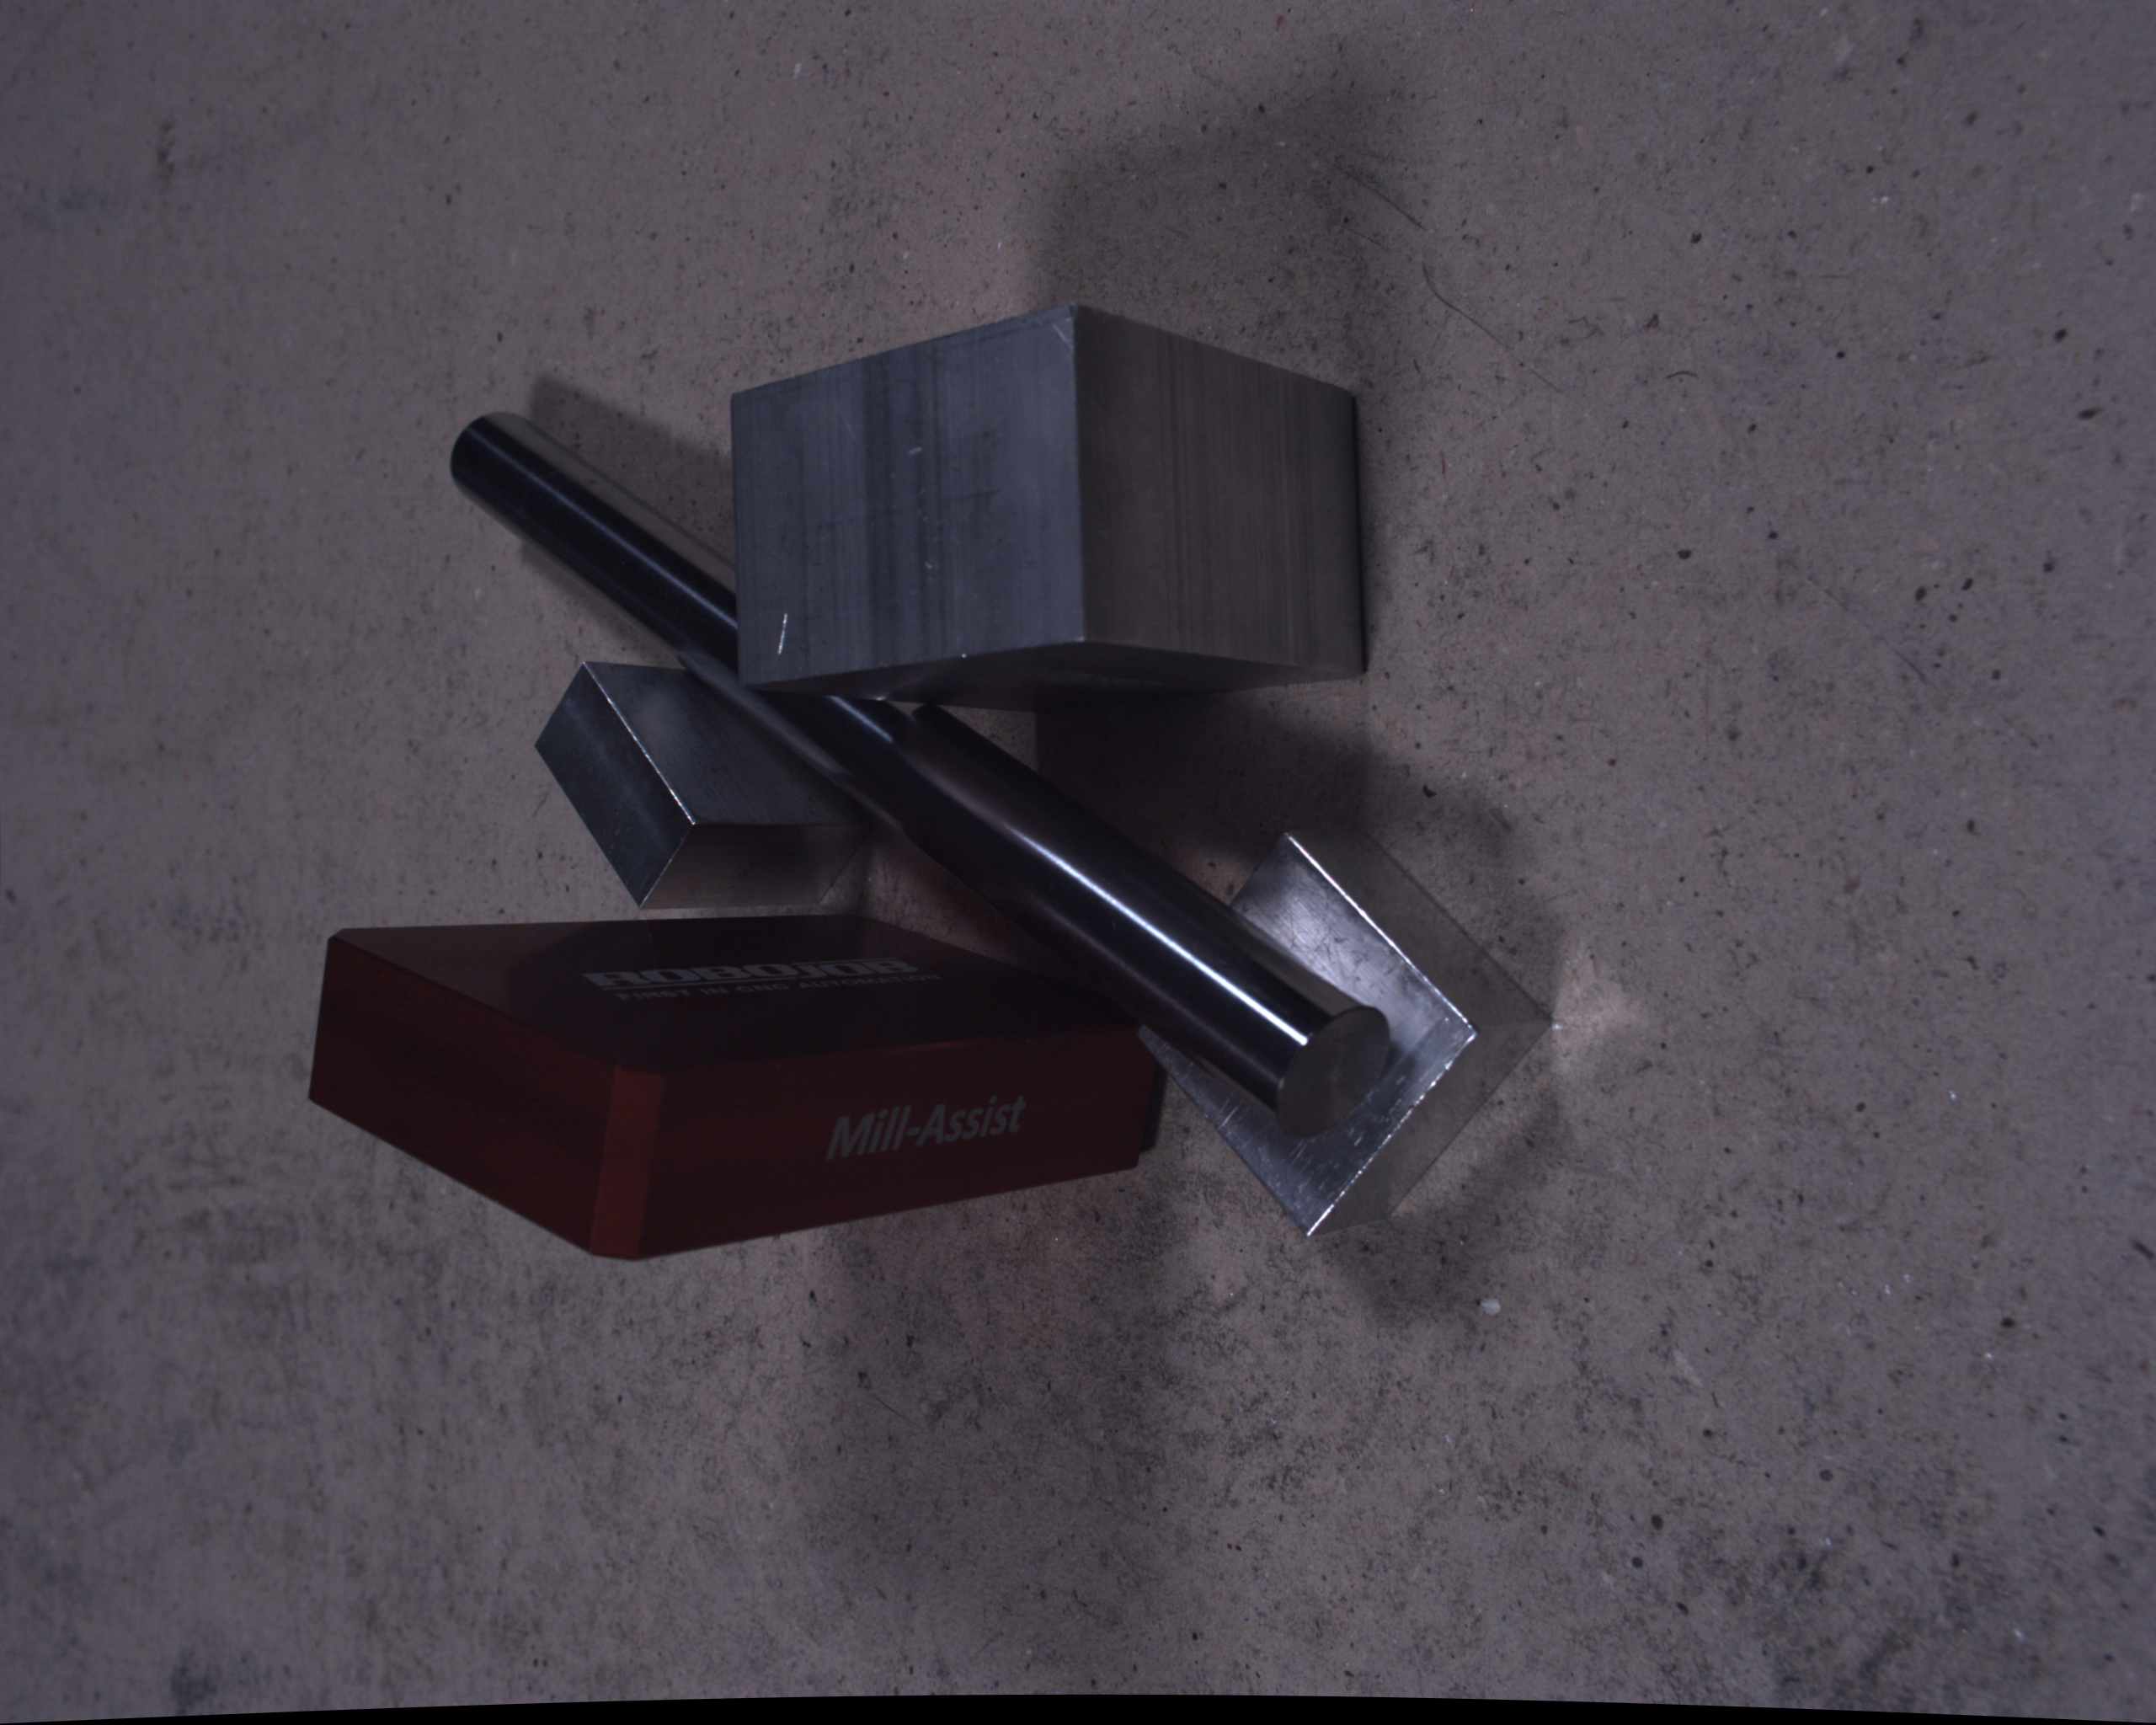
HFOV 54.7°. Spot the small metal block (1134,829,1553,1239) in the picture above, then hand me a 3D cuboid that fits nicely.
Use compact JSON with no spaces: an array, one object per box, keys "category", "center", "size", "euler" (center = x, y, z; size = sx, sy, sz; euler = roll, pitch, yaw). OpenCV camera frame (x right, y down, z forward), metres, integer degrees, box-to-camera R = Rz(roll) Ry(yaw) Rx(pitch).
[{"category":"small metal block","center":[0.046,0.029,0.368],"size":[0.050,0.025,0.050],"euler":[49,119,28]}]

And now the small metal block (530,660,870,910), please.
[{"category":"small metal block","center":[-0.082,-0.017,0.455],"size":[0.050,0.050,0.025],"euler":[52,120,27]}]

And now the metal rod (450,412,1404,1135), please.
[{"category":"metal rod","center":[-0.051,-0.034,0.429],"size":[0.300,0.025,0.025],"euler":[35,112,39]}]

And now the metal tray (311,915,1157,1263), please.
[{"category":"metal tray","center":[-0.058,0.036,0.384],"size":[0.090,0.131,0.030],"euler":[16,100,39]}]

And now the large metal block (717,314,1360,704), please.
[{"category":"large metal block","center":[-0.006,-0.057,0.372],"size":[0.080,0.081,0.050],"euler":[-2,89,39]}]
